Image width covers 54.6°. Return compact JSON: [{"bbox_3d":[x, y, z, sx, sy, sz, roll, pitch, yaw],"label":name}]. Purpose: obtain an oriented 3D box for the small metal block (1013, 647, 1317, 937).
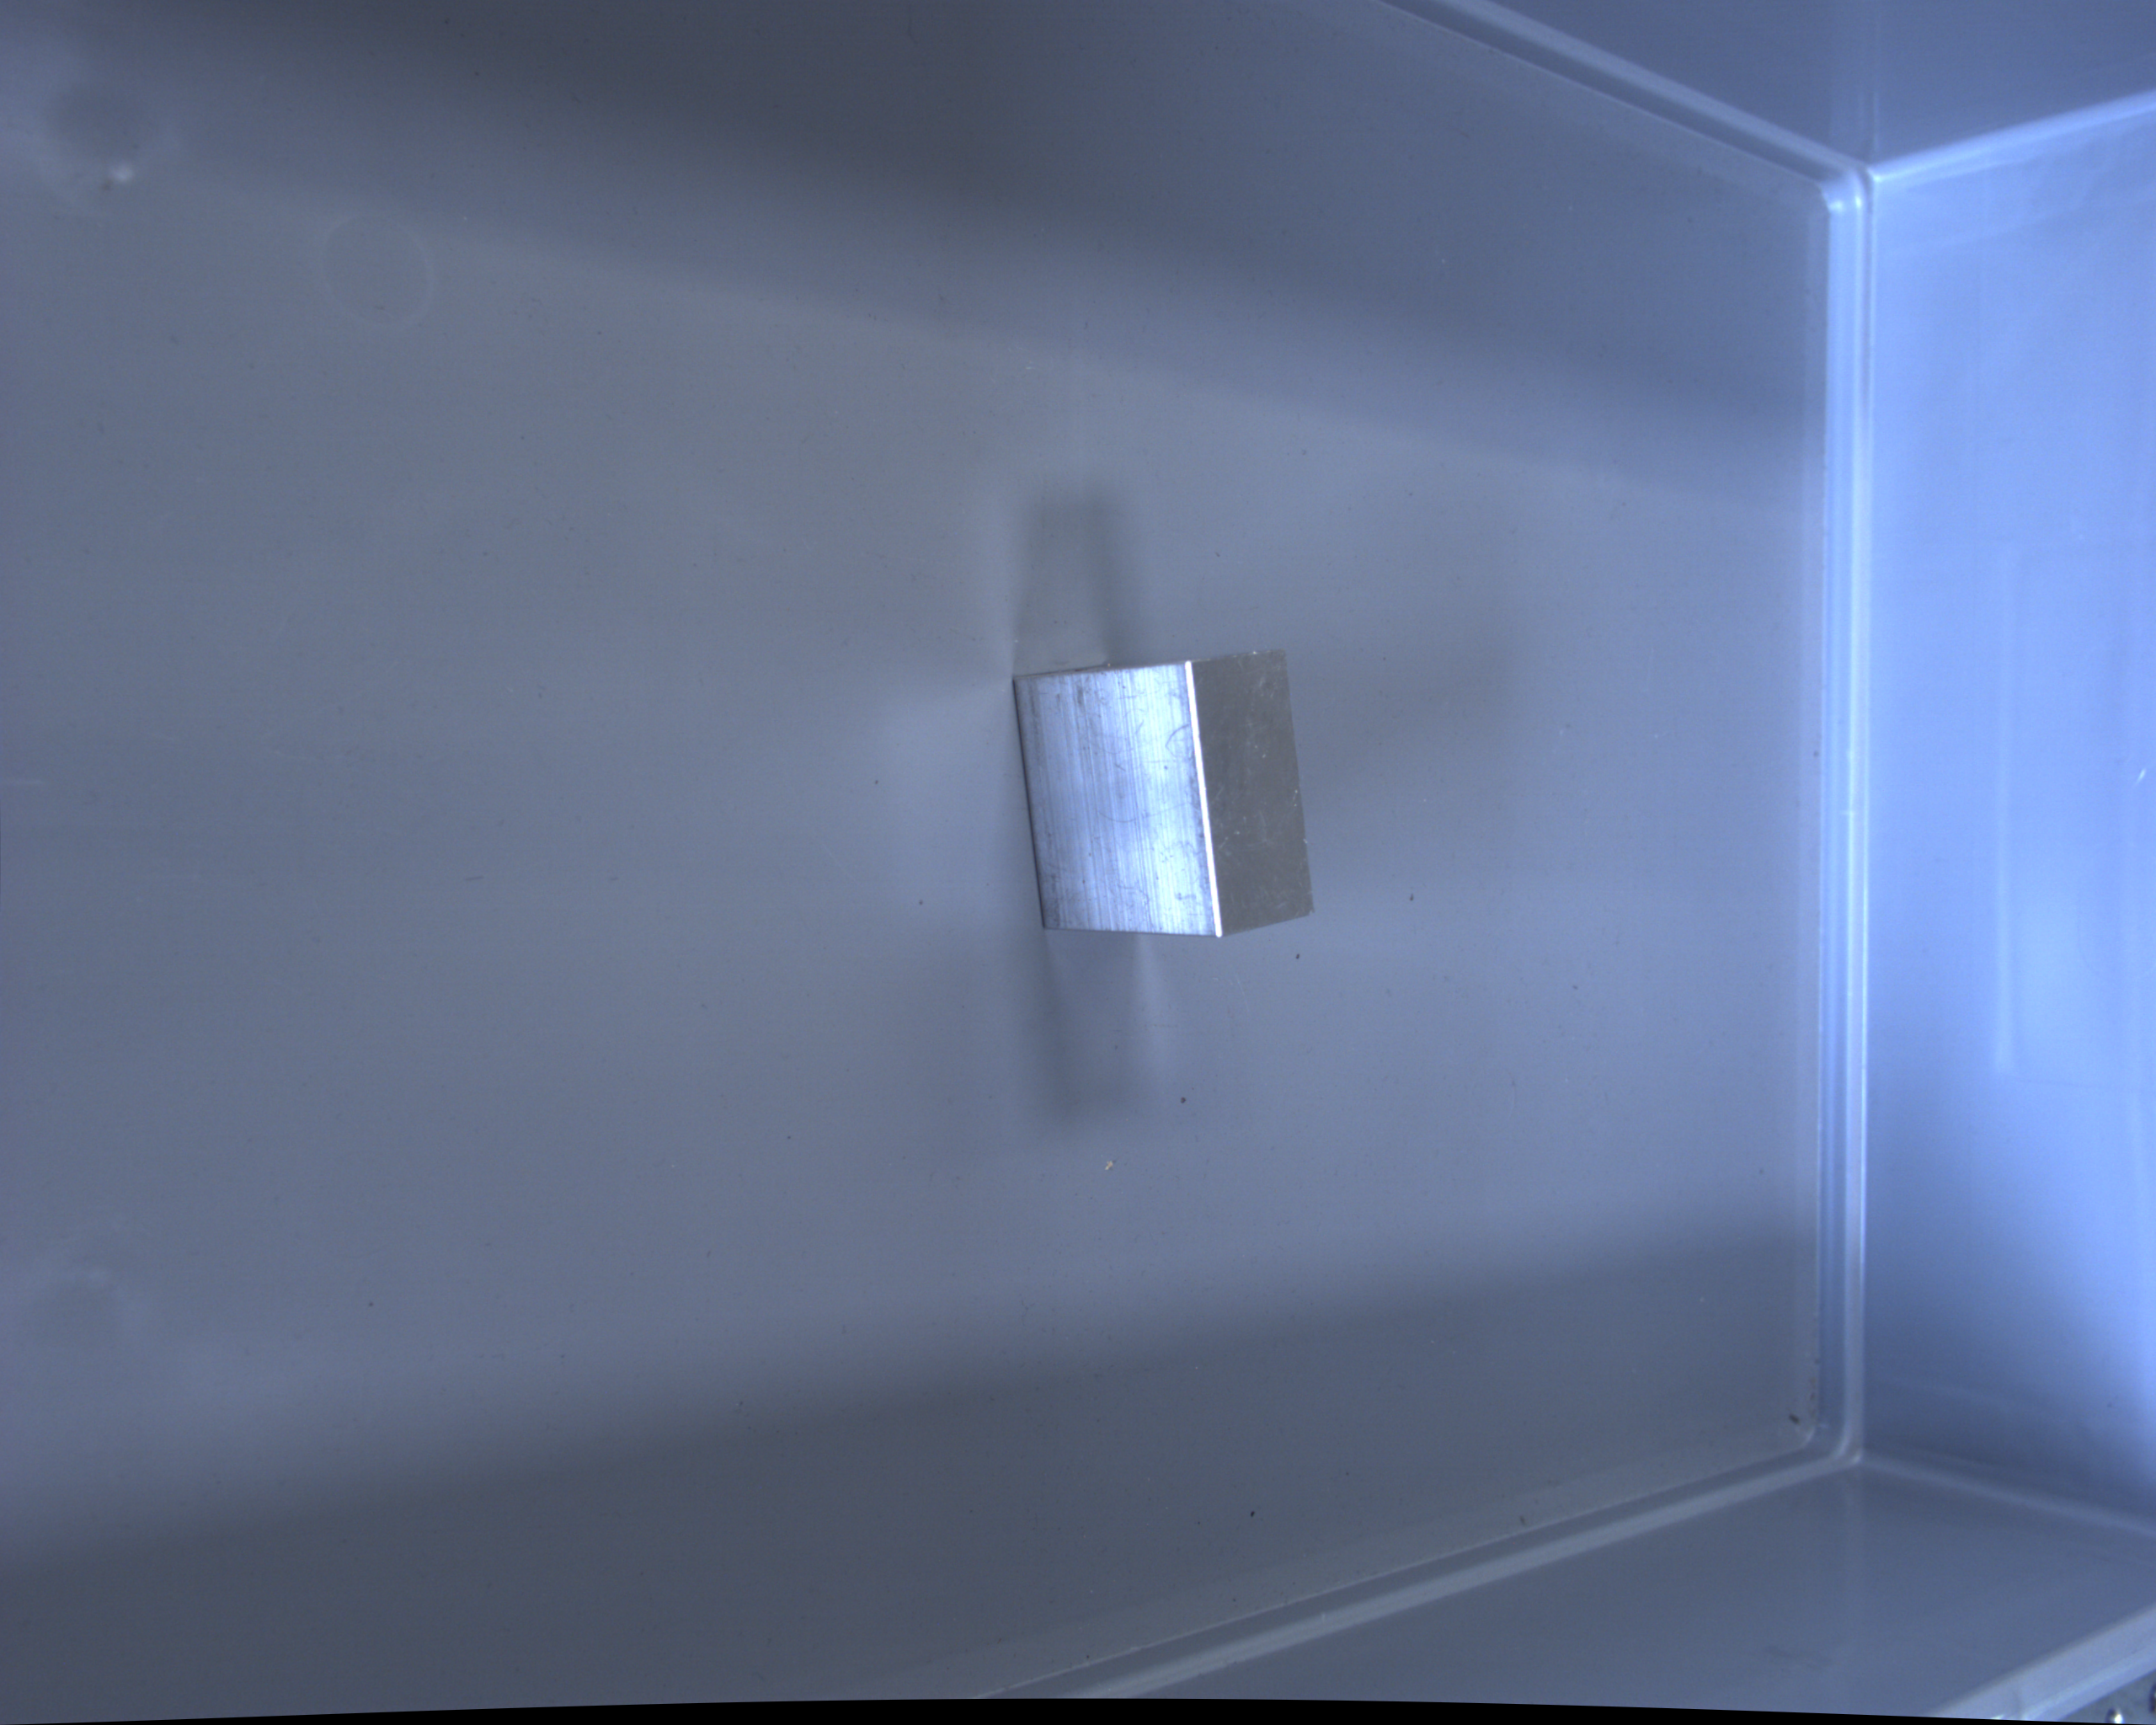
[{"bbox_3d":[0.016,-0.013,0.398,0.025,0.050,0.050,-11,97,-39],"label":"small metal block"}]
